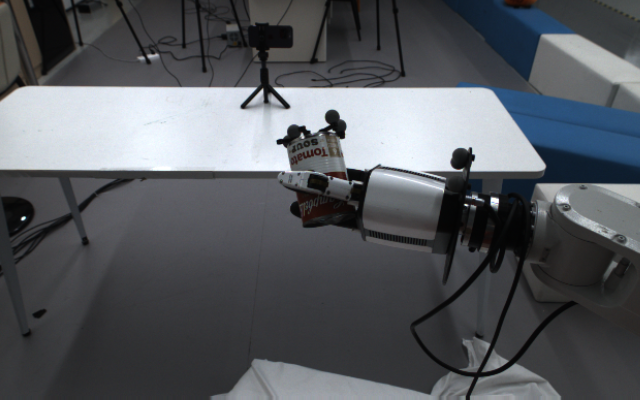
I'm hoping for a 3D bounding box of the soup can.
[{"bbox_3d":[0.003,-0.023,0.588,0.067,0.067,0.101,-10,80,-17],"label":"soup can"}]
